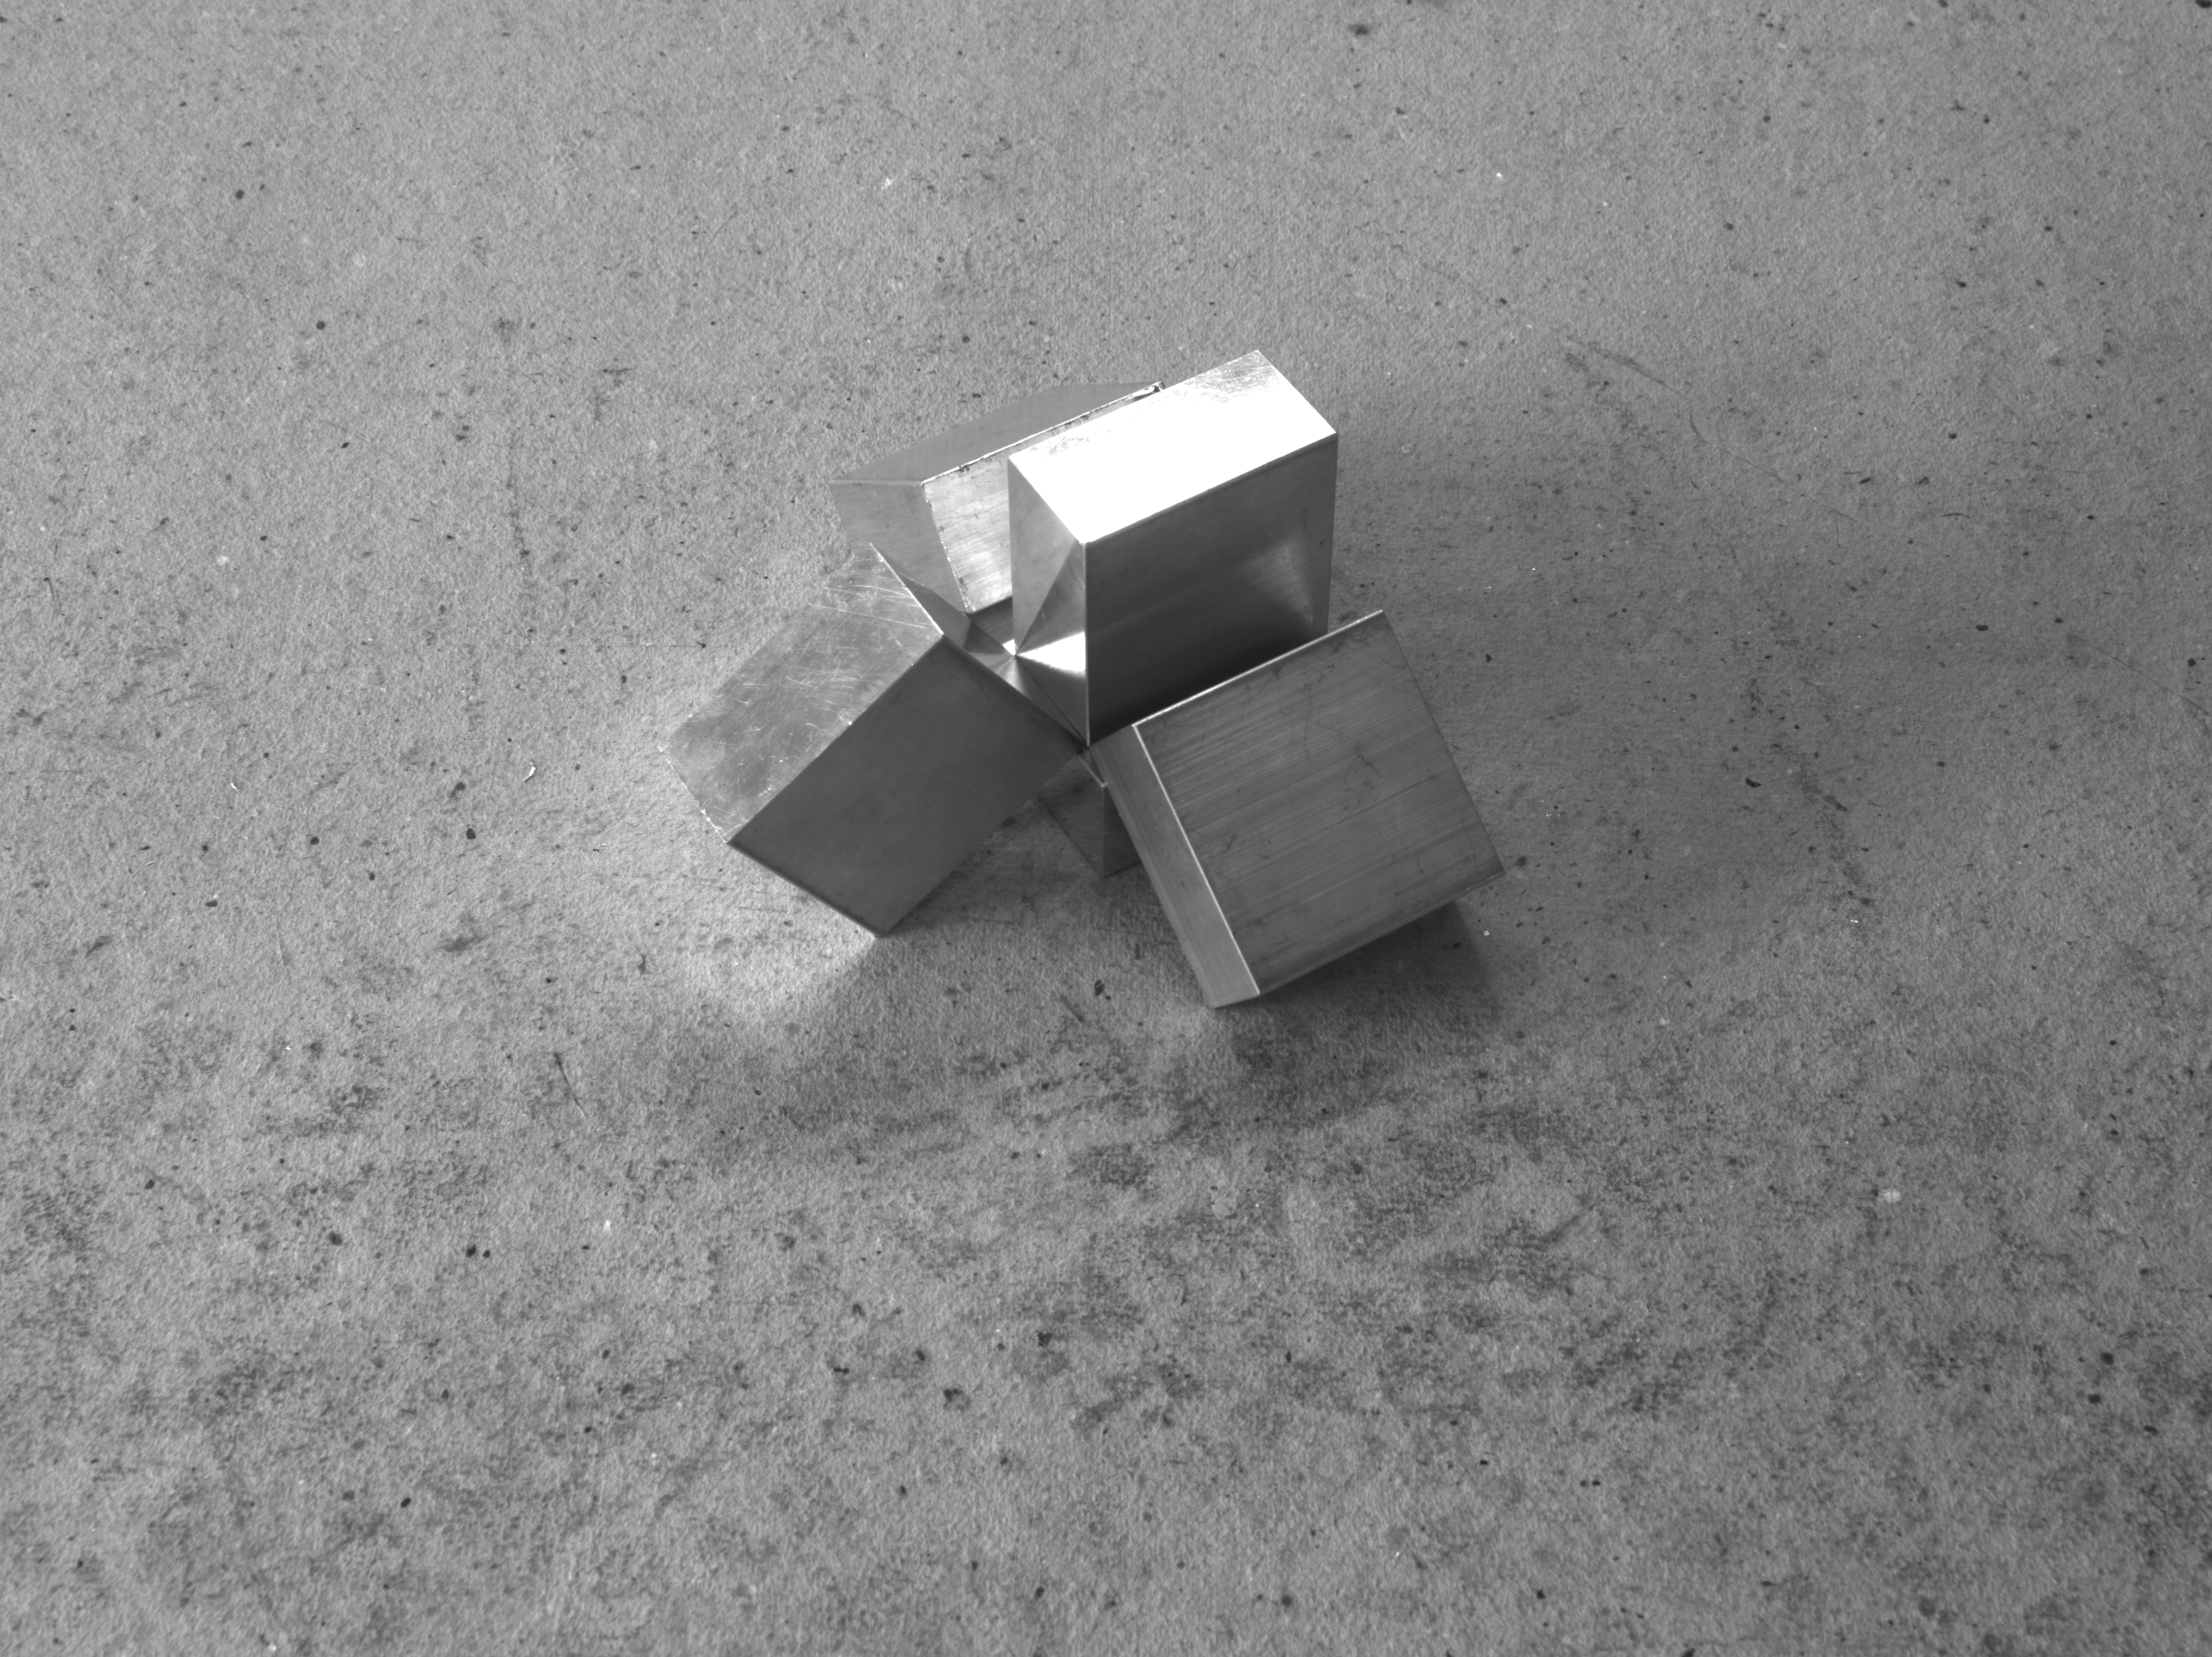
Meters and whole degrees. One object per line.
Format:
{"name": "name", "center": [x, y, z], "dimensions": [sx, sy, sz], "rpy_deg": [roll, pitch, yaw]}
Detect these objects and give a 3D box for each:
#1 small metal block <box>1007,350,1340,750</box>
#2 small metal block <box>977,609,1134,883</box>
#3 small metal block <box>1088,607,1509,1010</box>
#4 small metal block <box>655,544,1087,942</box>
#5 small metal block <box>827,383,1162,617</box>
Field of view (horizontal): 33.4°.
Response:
{"name": "small metal block", "center": [0.011, -0.048, 0.634], "dimensions": [0.050, 0.050, 0.025], "rpy_deg": [-26, 55, -19]}
{"name": "small metal block", "center": [0.007, -0.025, 0.665], "dimensions": [0.050, 0.025, 0.050], "rpy_deg": [-27, 54, -18]}
{"name": "small metal block", "center": [0.033, -0.003, 0.630], "dimensions": [0.050, 0.025, 0.050], "rpy_deg": [-26, 91, -19]}
{"name": "small metal block", "center": [-0.039, -0.014, 0.626], "dimensions": [0.050, 0.050, 0.025], "rpy_deg": [-43, 57, 7]}
{"name": "small metal block", "center": [-0.017, -0.060, 0.678], "dimensions": [0.050, 0.025, 0.050], "rpy_deg": [-25, 14, -19]}
